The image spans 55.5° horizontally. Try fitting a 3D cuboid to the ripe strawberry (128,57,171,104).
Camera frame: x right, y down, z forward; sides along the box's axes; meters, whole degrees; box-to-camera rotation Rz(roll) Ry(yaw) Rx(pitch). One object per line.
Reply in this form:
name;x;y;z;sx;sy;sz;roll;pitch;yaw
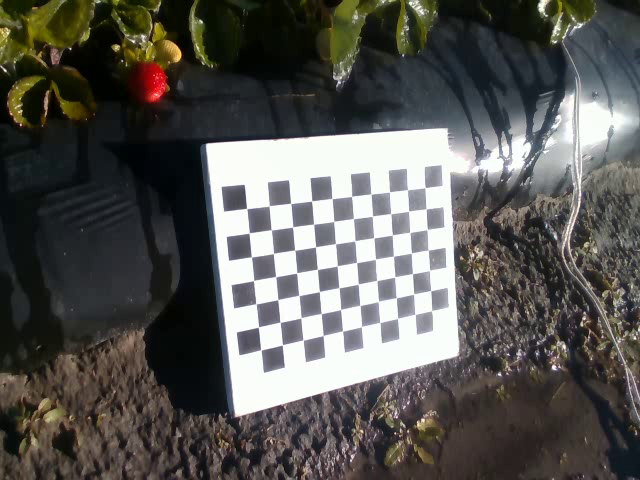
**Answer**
ripe strawberry;-0.121;-0.107;0.428;0.039;0.040;0.039;-17;37;-14
